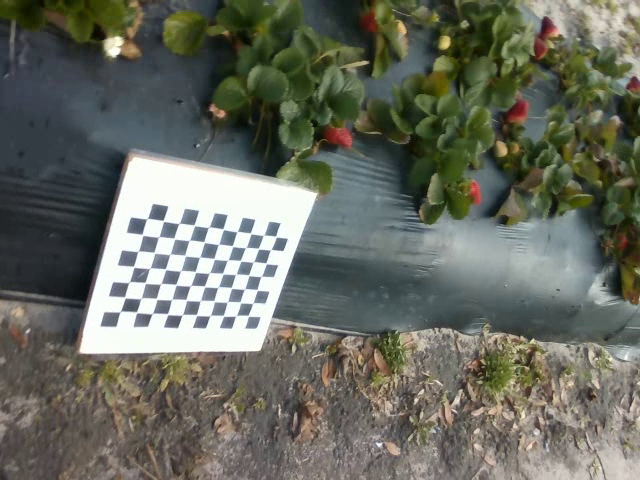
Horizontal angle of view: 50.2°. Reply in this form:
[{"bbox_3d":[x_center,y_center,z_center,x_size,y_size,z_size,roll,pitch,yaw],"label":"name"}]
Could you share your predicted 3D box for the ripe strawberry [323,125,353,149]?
[{"bbox_3d":[0.032,-0.156,0.988,0.043,0.051,0.064,37,-9,47],"label":"ripe strawberry"}]
